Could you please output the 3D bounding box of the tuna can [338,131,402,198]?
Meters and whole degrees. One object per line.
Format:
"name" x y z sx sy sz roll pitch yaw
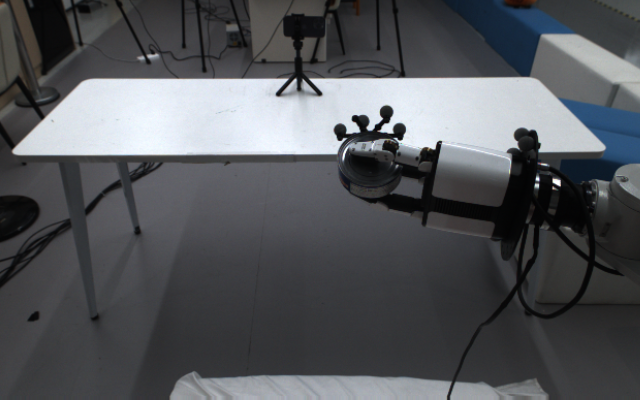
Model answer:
"tuna can" 0.066 -0.046 0.626 0.085 0.034 0.085 -2 58 2
